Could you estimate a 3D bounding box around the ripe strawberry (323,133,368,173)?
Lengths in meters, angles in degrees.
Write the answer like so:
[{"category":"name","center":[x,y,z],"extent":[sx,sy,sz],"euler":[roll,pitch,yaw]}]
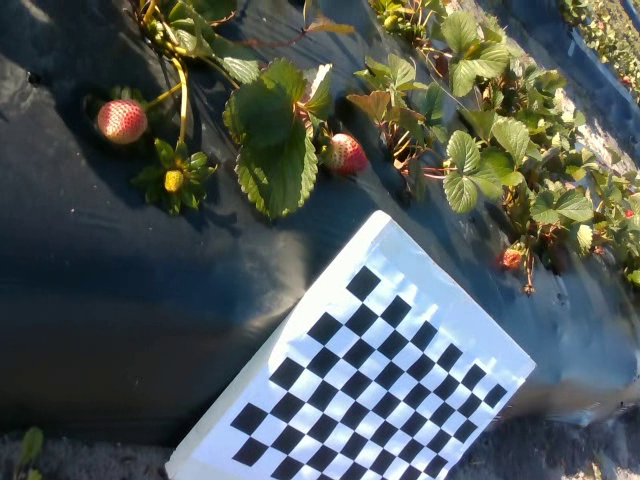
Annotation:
[{"category":"ripe strawberry","center":[0.030,-0.084,0.611],"extent":[0.063,0.045,0.043],"euler":[20,12,-37]}]
